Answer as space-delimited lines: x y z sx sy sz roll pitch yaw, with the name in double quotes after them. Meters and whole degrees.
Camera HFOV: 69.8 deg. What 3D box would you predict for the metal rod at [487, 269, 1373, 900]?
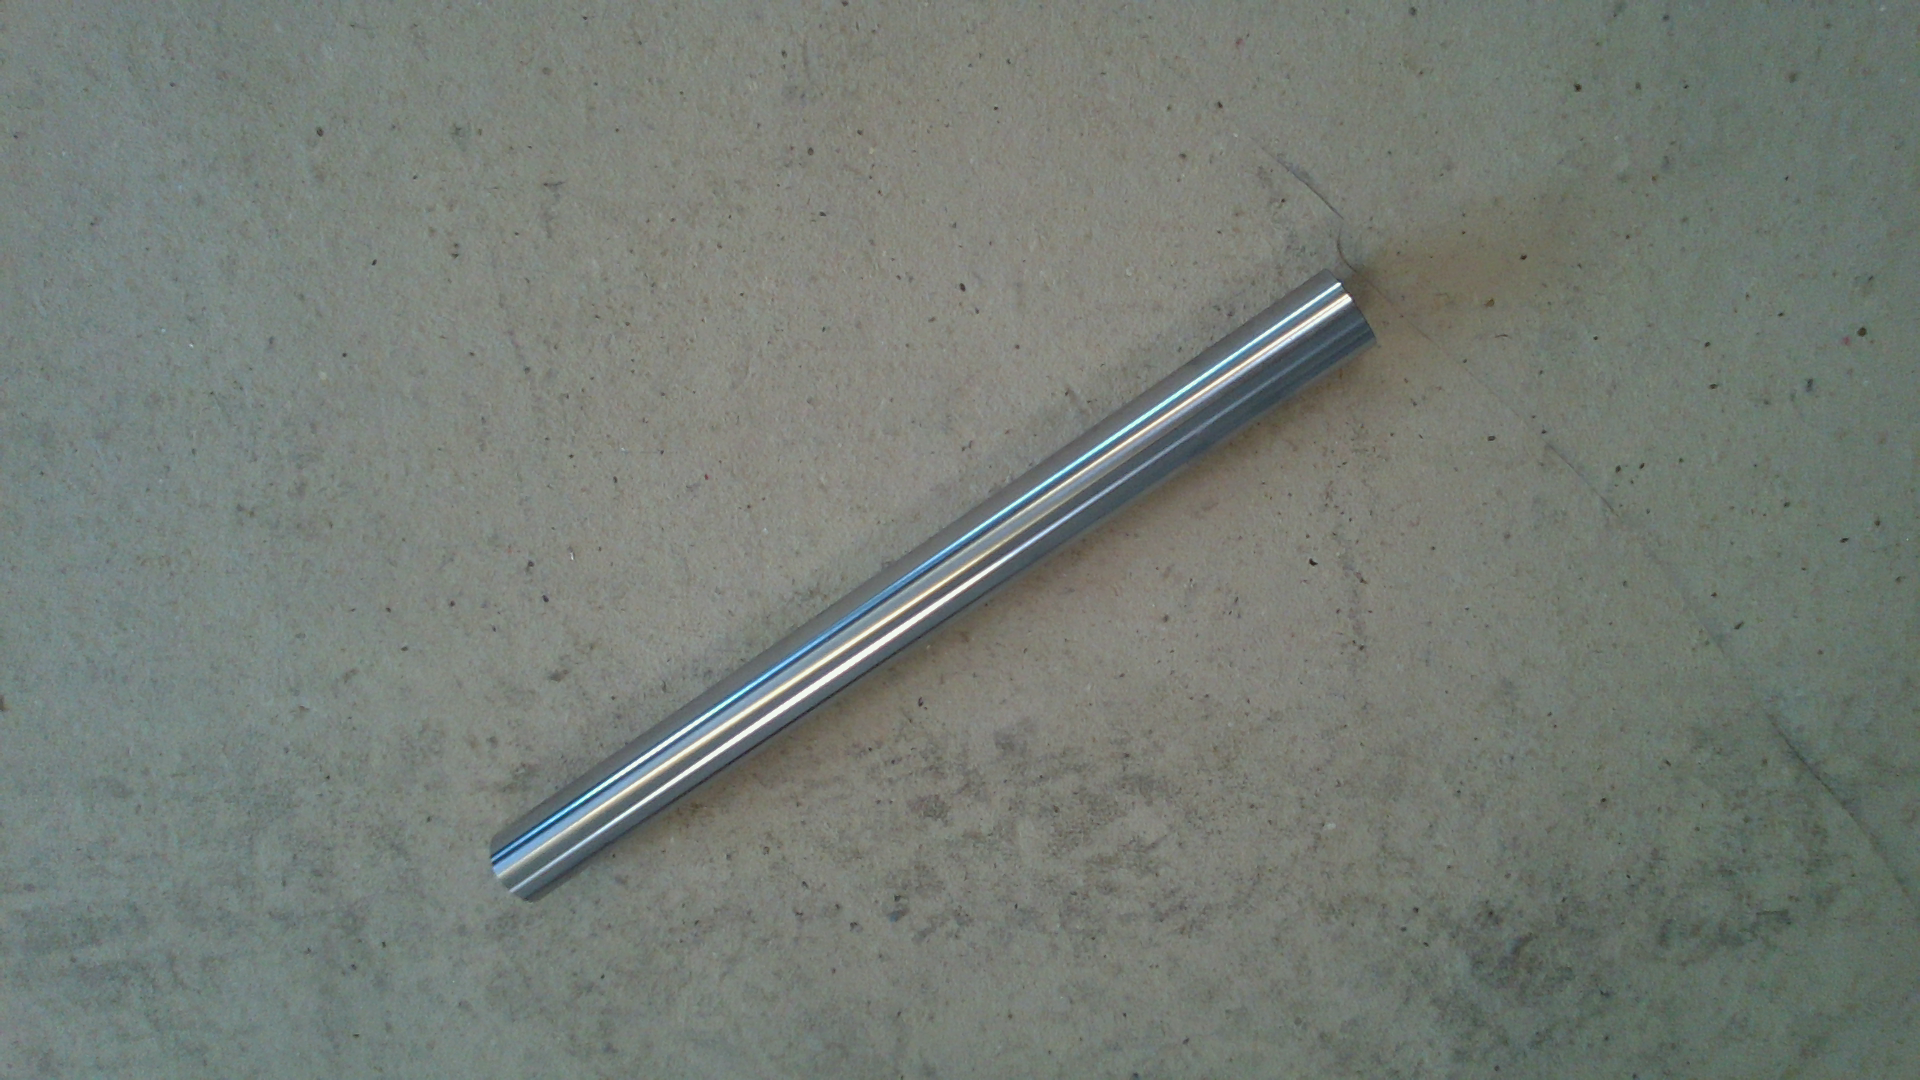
-0.017 0.019 0.401 0.300 0.025 0.025 -34 107 11 "metal rod"
